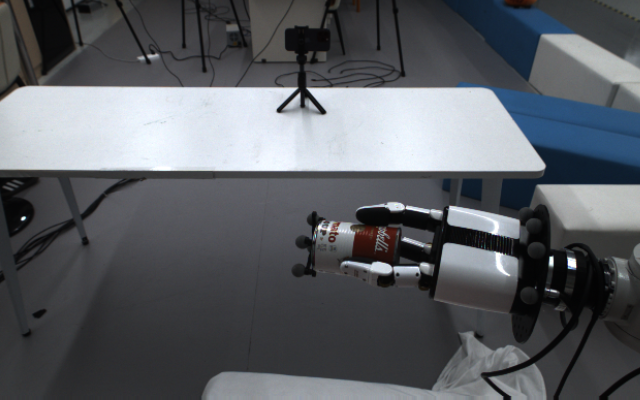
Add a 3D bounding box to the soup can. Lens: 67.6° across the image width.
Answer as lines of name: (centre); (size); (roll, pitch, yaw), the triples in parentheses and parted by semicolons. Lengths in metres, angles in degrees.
soup can: (0.049, 0.062, 0.600); (0.101, 0.067, 0.067); (5, 34, 13)
